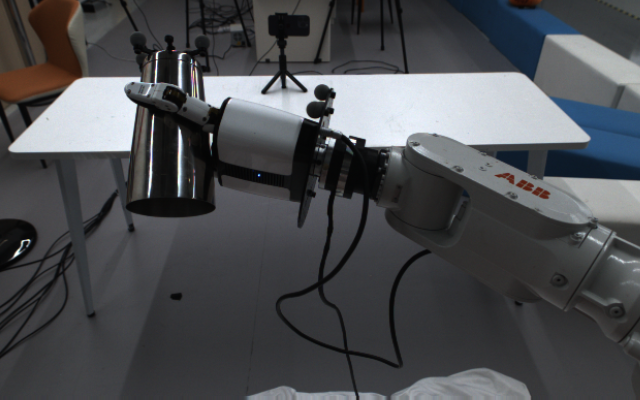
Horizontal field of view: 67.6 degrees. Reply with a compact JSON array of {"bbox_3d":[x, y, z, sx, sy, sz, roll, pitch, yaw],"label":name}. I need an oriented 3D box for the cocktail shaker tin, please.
[{"bbox_3d":[-0.164,-0.072,0.536,0.093,0.093,0.170,-3,76,-7],"label":"cocktail shaker tin"}]
